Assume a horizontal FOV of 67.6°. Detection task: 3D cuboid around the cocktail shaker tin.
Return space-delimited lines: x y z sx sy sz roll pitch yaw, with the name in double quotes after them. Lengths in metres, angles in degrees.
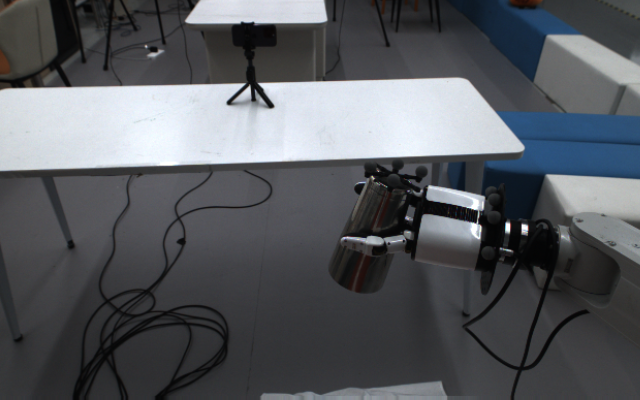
0.081 0.042 0.716 0.093 0.170 0.093 12 29 -7 "cocktail shaker tin"
